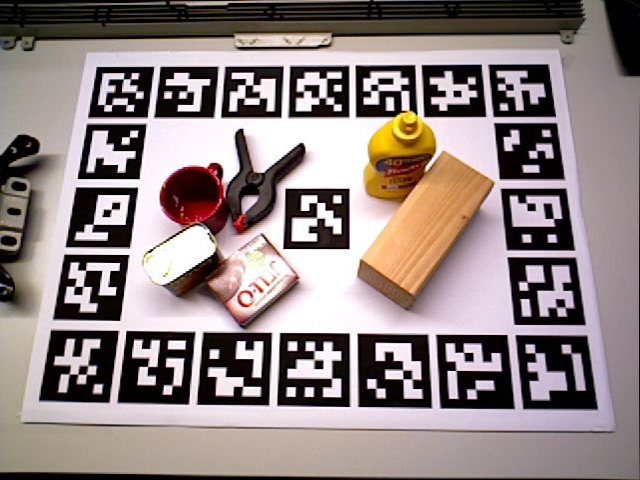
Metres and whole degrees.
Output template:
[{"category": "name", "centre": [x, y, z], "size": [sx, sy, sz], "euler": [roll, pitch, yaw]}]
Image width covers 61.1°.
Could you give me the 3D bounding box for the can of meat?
[{"category": "can of meat", "centre": [-0.193, 0.032, 0.763], "size": [0.101, 0.084, 0.057], "euler": [-29, 75, -8]}]

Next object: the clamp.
[{"category": "clamp", "centre": [-0.099, -0.097, 0.834], "size": [0.121, 0.037, 0.164], "euler": [19, 76, 6]}]

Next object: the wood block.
[{"category": "wood block", "centre": [0.154, -0.009, 0.770], "size": [0.090, 0.092, 0.204], "euler": [36, 75, 14]}]

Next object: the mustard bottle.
[{"category": "mustard bottle", "centre": [0.114, -0.126, 0.749], "size": [0.096, 0.193, 0.058], "euler": [-5, 72, 0]}]

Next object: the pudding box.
[{"category": "pudding box", "centre": [-0.096, 0.062, 0.780], "size": [0.113, 0.039, 0.090], "euler": [-38, 76, -11]}]

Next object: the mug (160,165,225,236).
[{"category": "mug", "centre": [-0.181, -0.061, 0.821], "size": [0.093, 0.082, 0.116], "euler": [22, 76, 8]}]
